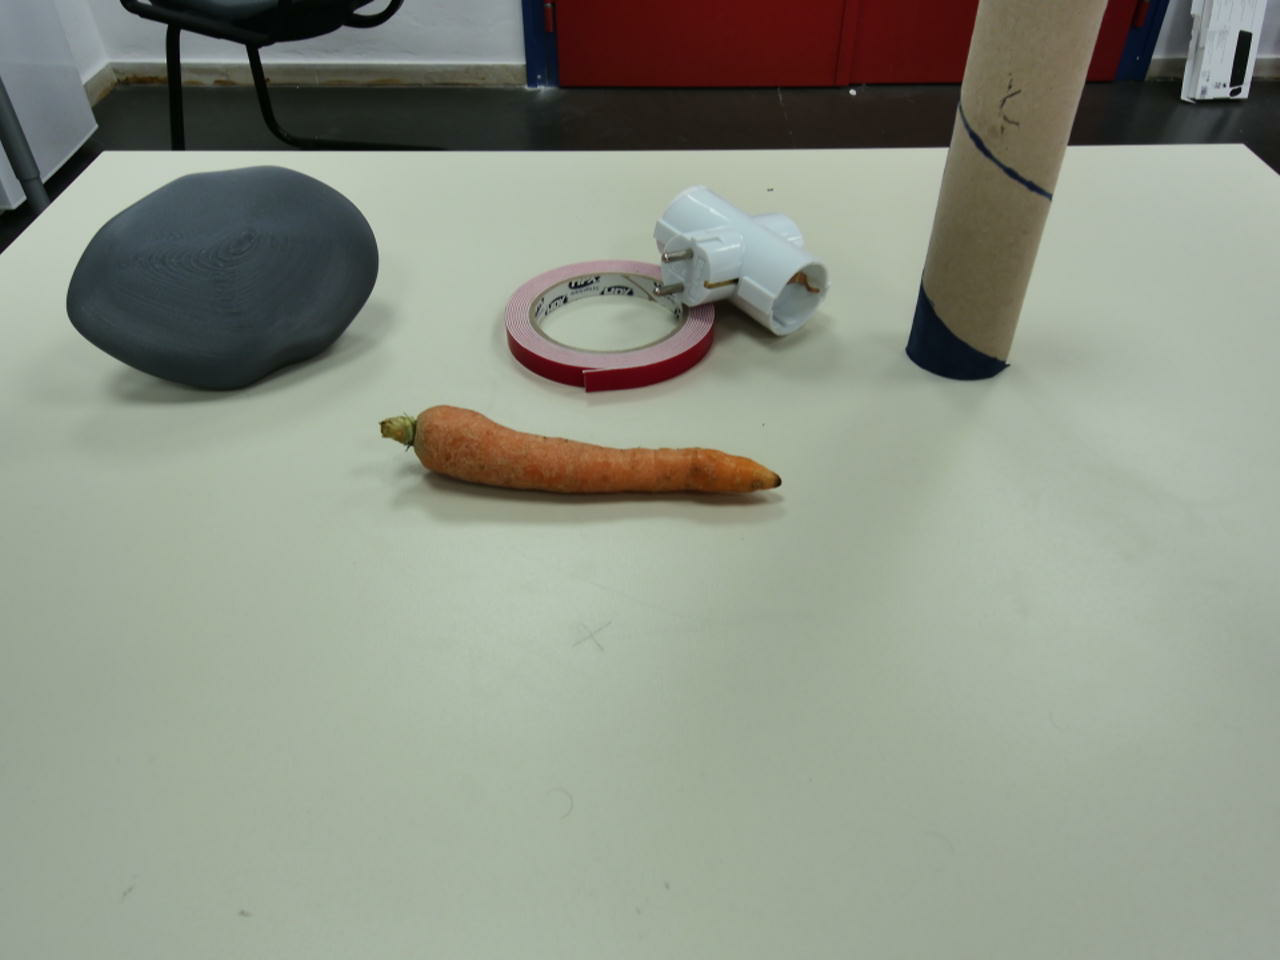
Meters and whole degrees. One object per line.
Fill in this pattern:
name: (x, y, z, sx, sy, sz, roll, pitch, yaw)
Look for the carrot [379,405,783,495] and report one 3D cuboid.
carrot: (-0.026, -0.010, 0.425, 0.173, 0.032, 0.030, 6, 39, 7)
